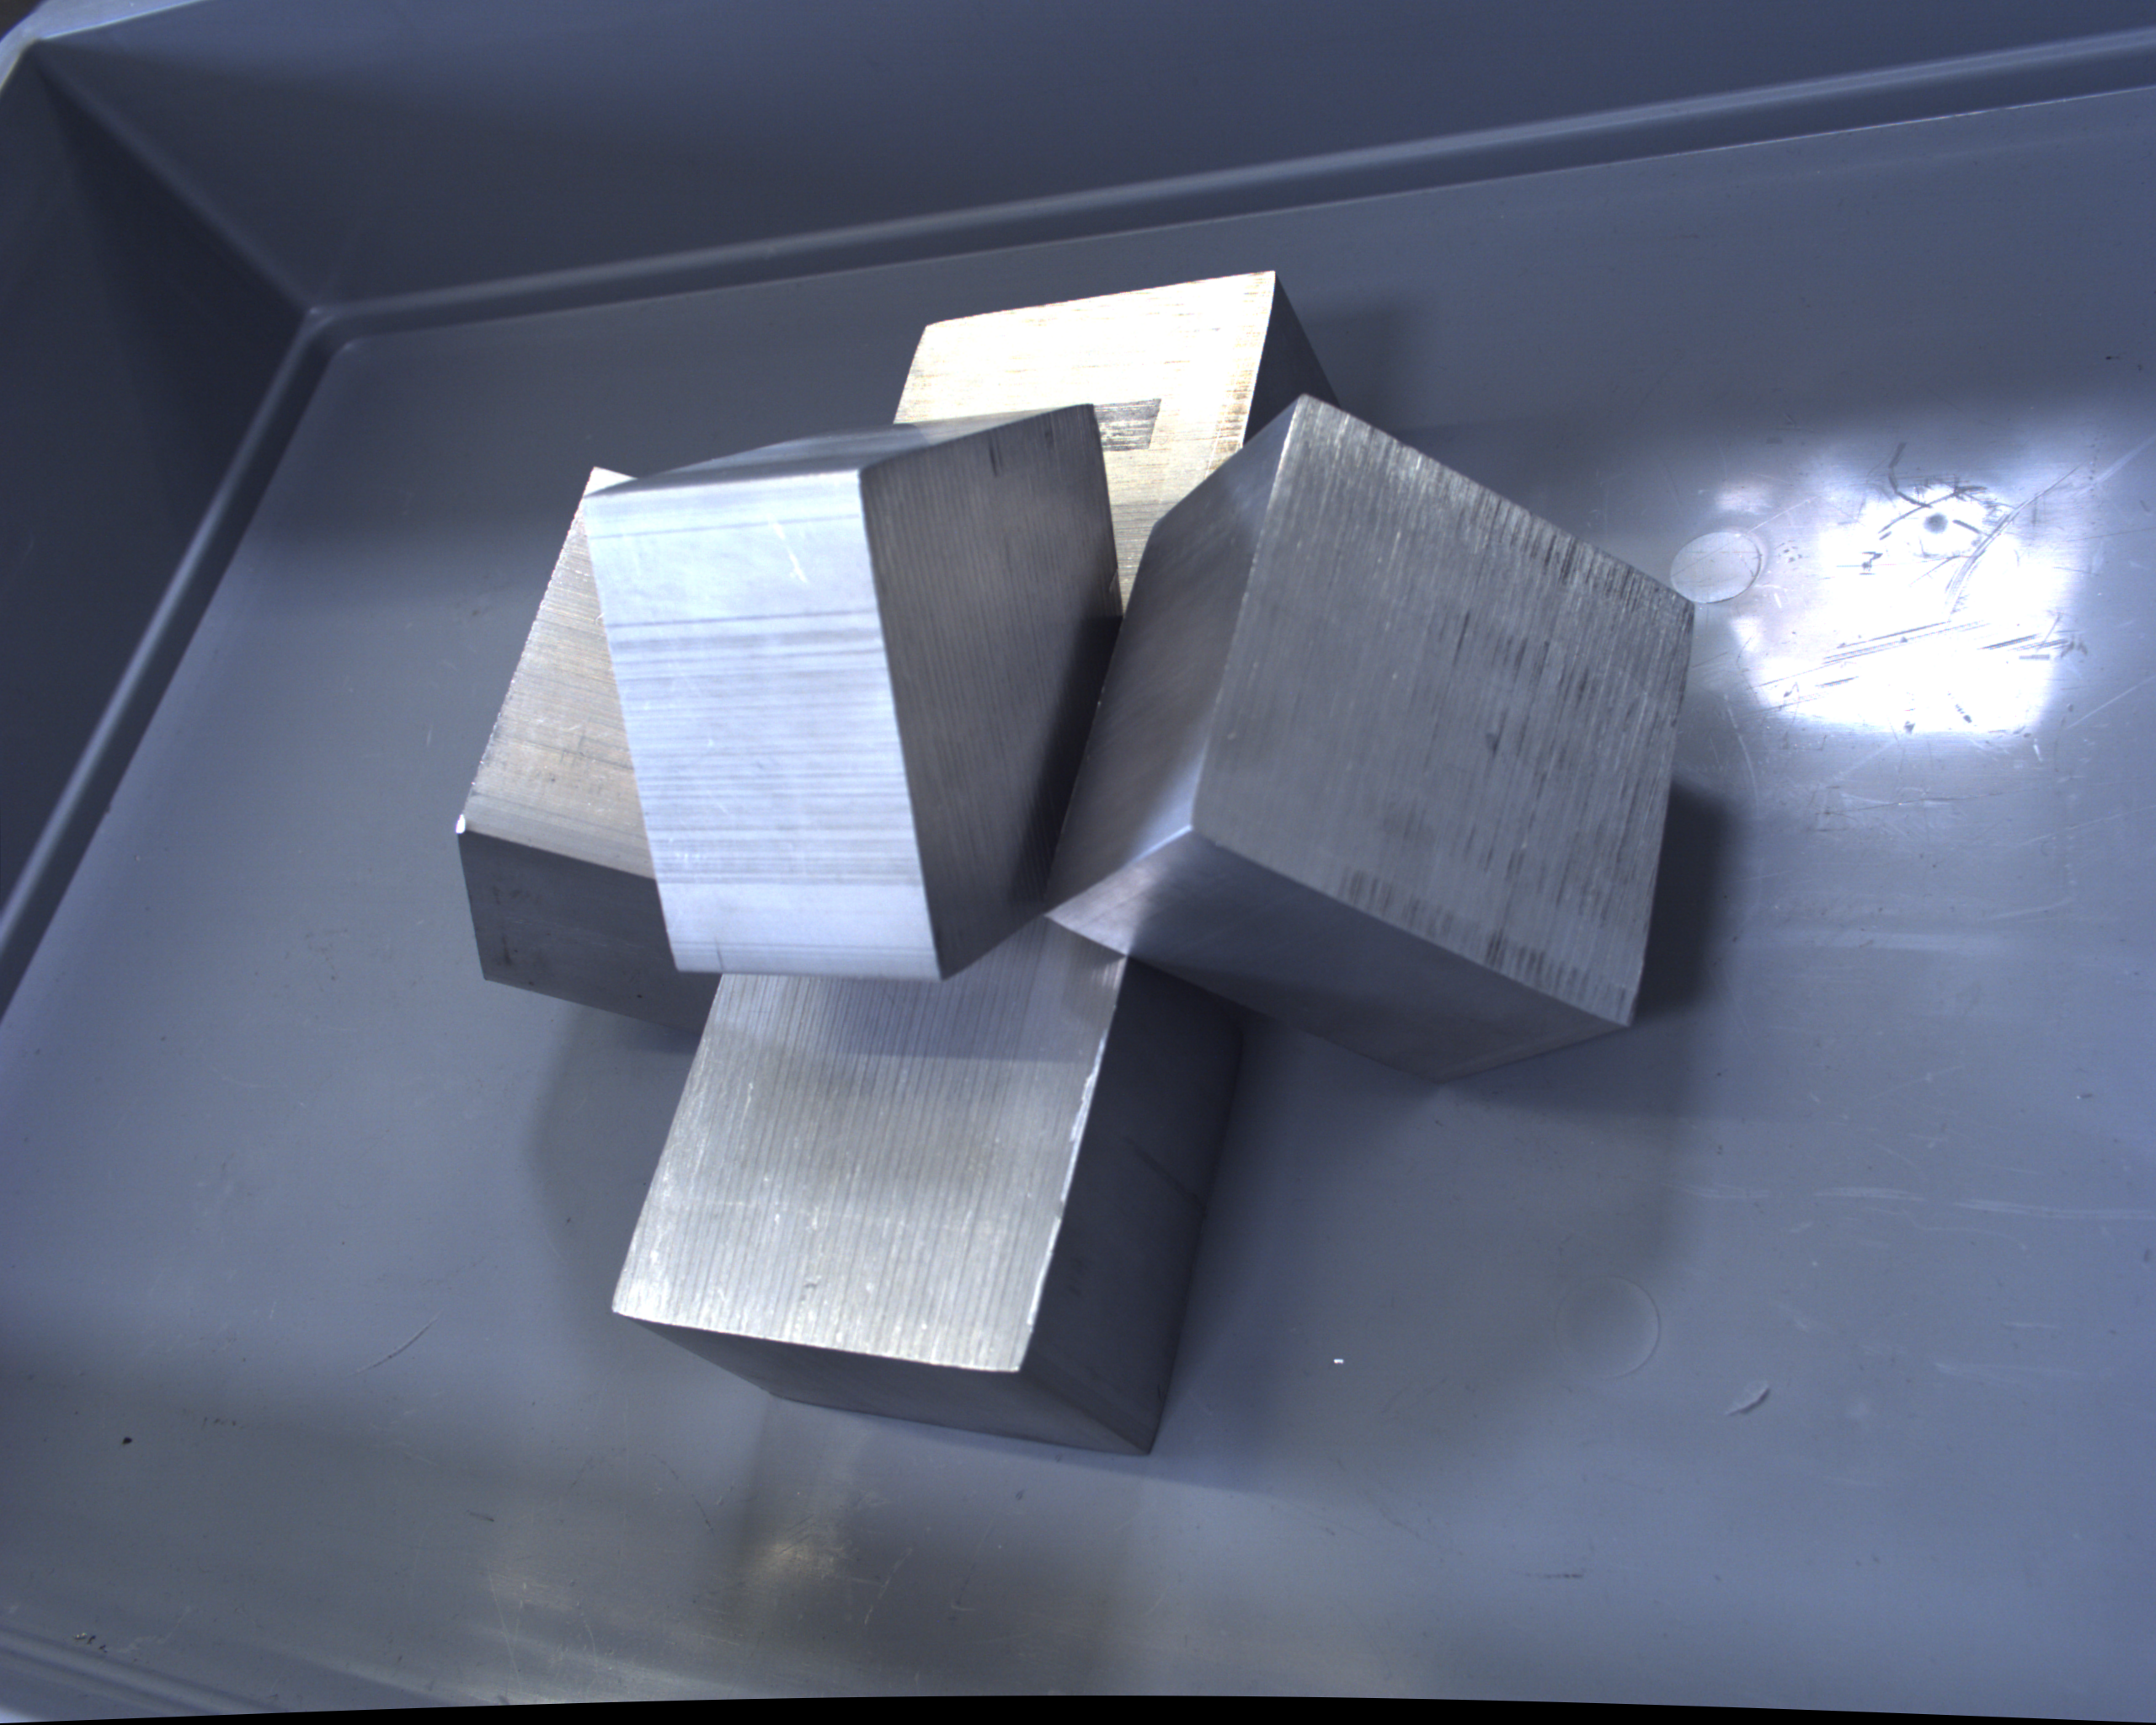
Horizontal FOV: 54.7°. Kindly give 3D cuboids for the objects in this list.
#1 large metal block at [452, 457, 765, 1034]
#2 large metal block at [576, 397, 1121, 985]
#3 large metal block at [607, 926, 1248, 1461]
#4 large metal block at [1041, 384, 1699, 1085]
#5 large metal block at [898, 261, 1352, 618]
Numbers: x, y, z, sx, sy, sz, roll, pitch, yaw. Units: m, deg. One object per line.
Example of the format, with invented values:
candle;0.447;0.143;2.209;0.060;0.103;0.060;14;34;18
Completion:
large metal block;-0.083;-0.019;0.415;0.050;0.080;0.080;15;65;-5
large metal block;-0.032;-0.032;0.354;0.050;0.079;0.080;0;18;27
large metal block;-0.024;0.054;0.368;0.080;0.050;0.080;1;62;28
large metal block;0.049;-0.018;0.345;0.050;0.080;0.080;-33;38;60
large metal block;0.006;-0.069;0.424;0.080;0.050;0.080;-1;61;27
